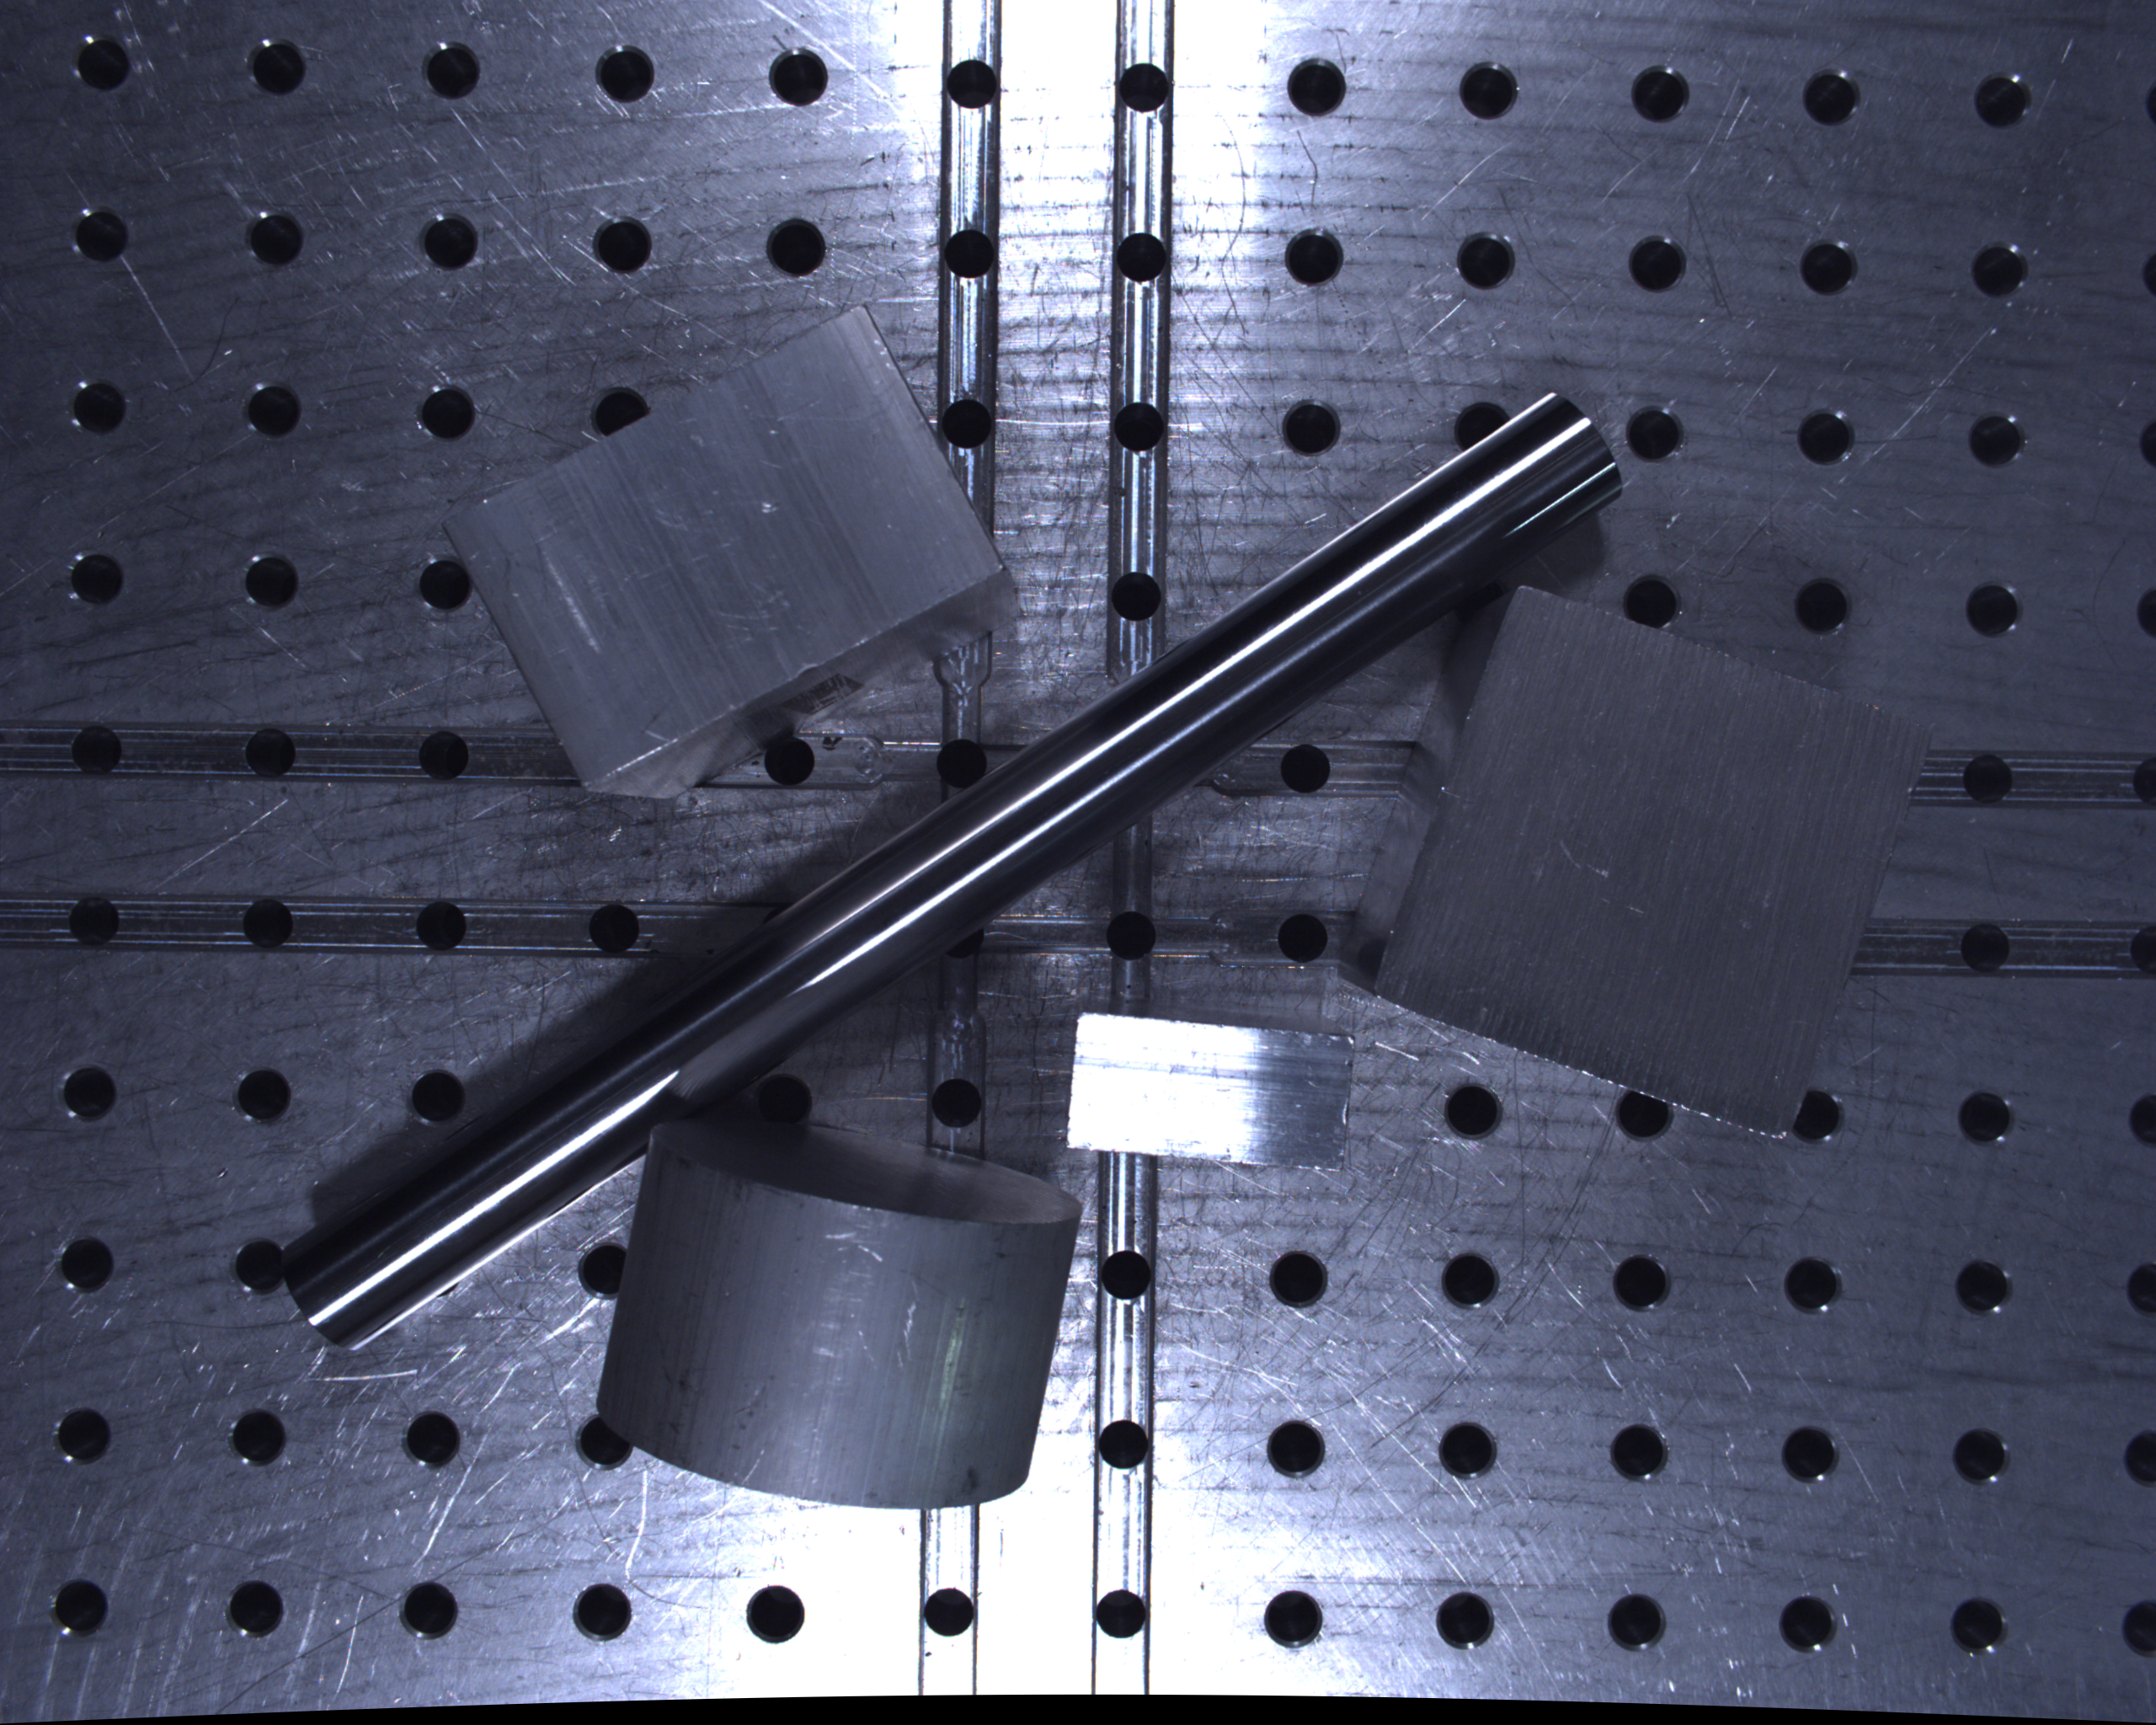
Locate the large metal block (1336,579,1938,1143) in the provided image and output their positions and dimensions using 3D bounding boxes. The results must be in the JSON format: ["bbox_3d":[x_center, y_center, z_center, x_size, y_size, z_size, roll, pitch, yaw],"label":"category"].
[{"bbox_3d":[0.103,0.000,0.400,0.080,0.050,0.080,19,90,-1],"label":"large metal block"}]

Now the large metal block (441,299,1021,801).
[{"bbox_3d":[-0.058,-0.053,0.386,0.080,0.080,0.050,-28,90,0],"label":"large metal block"}]

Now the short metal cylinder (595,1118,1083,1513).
[{"bbox_3d":[-0.044,0.081,0.385,0.080,0.080,0.050,12,90,-1],"label":"short metal cylinder"}]

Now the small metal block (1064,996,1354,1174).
[{"bbox_3d":[0.024,0.041,0.401,0.050,0.050,0.025,5,90,-1],"label":"small metal block"}]

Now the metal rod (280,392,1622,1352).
[{"bbox_3d":[-0.024,0.001,0.412,0.301,0.025,0.025,-34,90,-1],"label":"metal rod"}]
